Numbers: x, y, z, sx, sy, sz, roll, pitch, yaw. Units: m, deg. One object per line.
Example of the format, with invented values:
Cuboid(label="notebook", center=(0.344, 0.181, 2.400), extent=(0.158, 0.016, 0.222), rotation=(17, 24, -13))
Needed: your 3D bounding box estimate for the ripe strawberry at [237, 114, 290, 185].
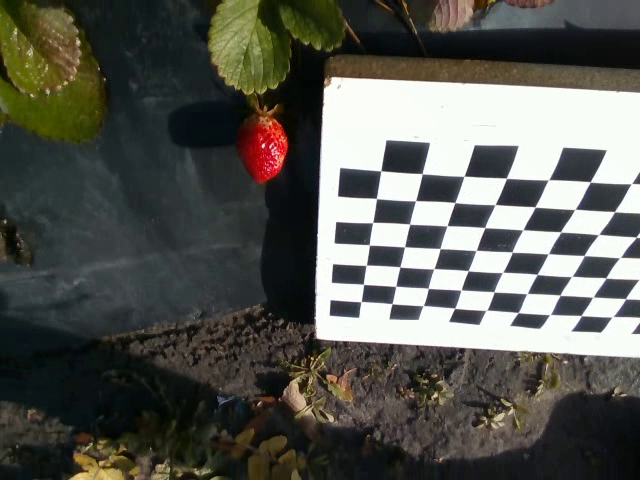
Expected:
Cuboid(label="ripe strawberry", center=(-0.029, -0.044, 0.295), extent=(0.034, 0.038, 0.033), rotation=(3, 0, 2))
